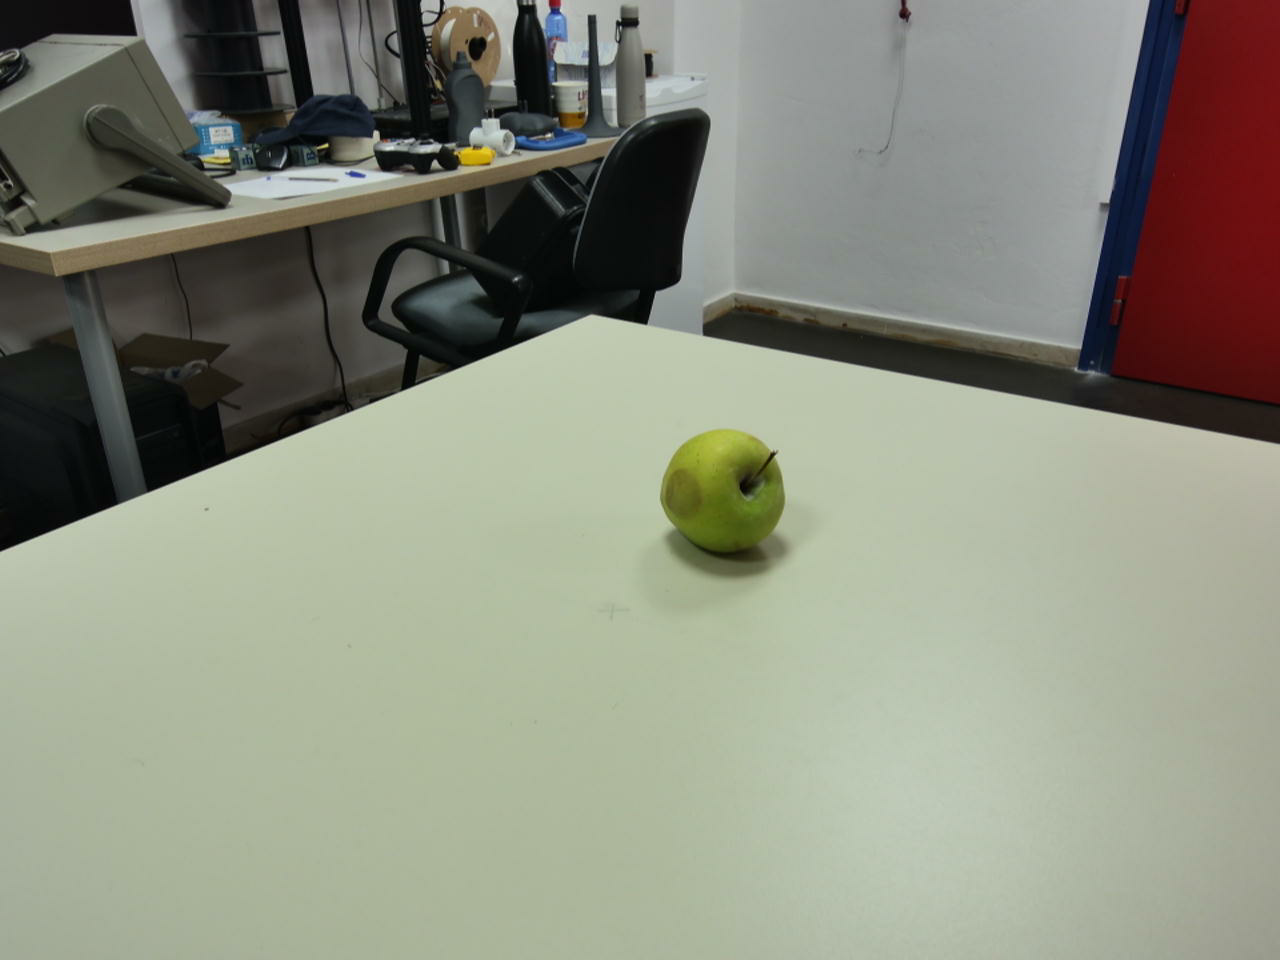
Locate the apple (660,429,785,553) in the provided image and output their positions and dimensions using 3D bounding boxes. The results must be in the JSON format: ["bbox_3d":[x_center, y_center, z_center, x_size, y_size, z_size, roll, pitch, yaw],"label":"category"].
[{"bbox_3d":[0.051,0.005,0.609,0.072,0.075,0.077,-4,25,-9],"label":"apple"}]
